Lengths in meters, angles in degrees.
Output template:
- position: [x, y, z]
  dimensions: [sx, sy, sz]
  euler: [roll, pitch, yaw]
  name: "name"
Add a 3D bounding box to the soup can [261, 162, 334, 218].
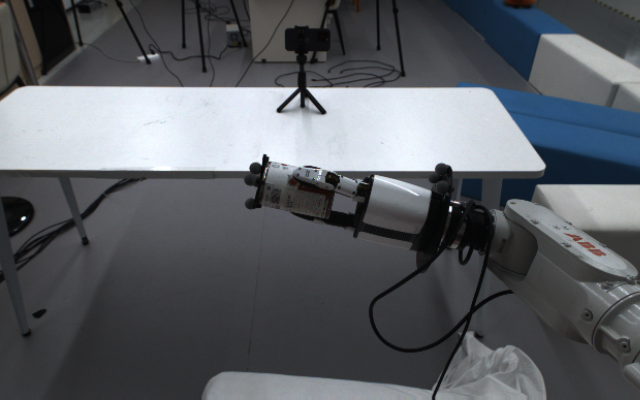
- position: [-0.029, -0.013, 0.699]
  dimensions: [0.101, 0.067, 0.067]
  euler: [12, 35, -1]
  name: "soup can"
